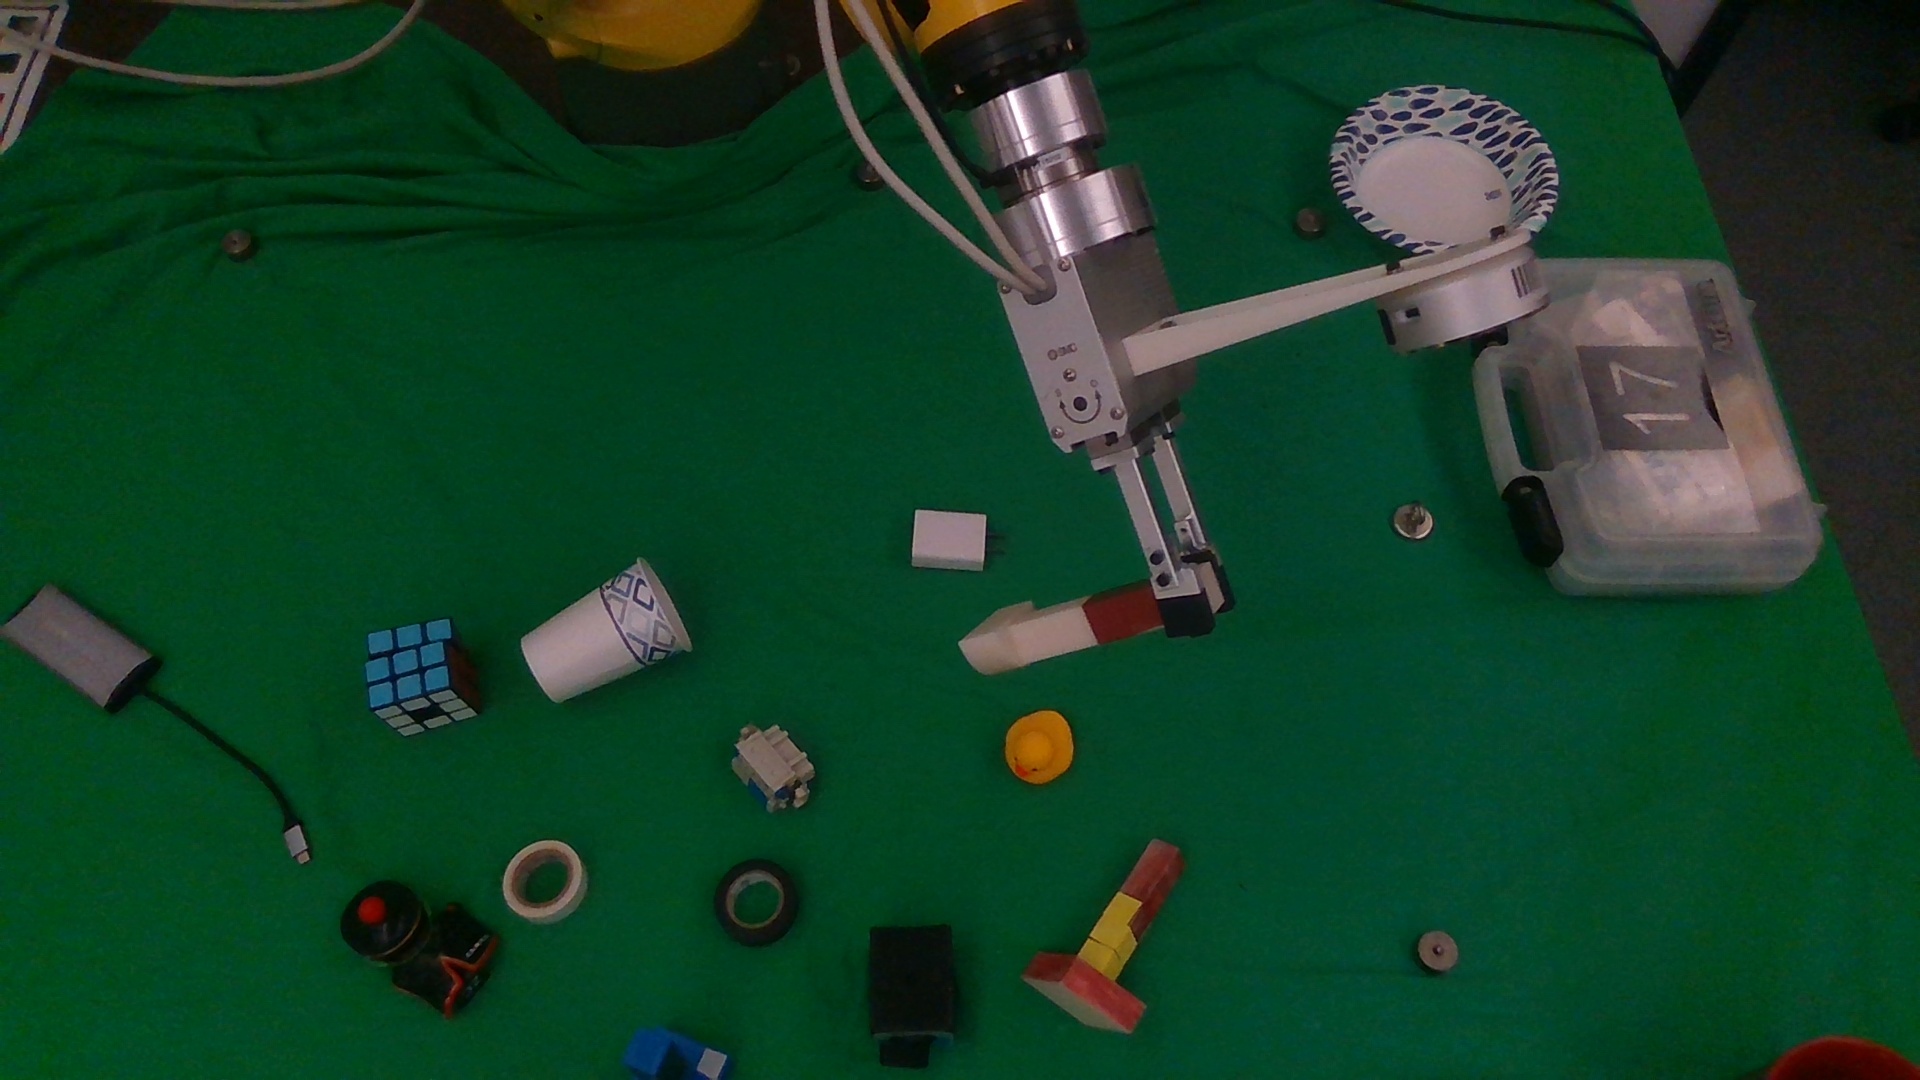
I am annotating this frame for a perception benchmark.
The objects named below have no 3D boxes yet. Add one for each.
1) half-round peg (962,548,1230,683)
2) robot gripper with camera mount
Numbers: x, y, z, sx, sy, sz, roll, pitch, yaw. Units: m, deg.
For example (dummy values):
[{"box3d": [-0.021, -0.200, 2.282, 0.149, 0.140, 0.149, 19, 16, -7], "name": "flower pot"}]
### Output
[{"box3d": [0.063, 0.034, 0.636, 0.122, 0.054, 0.031, -21, 100, 28], "name": "half-round peg"}, {"box3d": [0.147, -0.059, 0.569, 0.194, 0.118, 0.158, -18, 98, 29], "name": "robot gripper with camera mount"}]
